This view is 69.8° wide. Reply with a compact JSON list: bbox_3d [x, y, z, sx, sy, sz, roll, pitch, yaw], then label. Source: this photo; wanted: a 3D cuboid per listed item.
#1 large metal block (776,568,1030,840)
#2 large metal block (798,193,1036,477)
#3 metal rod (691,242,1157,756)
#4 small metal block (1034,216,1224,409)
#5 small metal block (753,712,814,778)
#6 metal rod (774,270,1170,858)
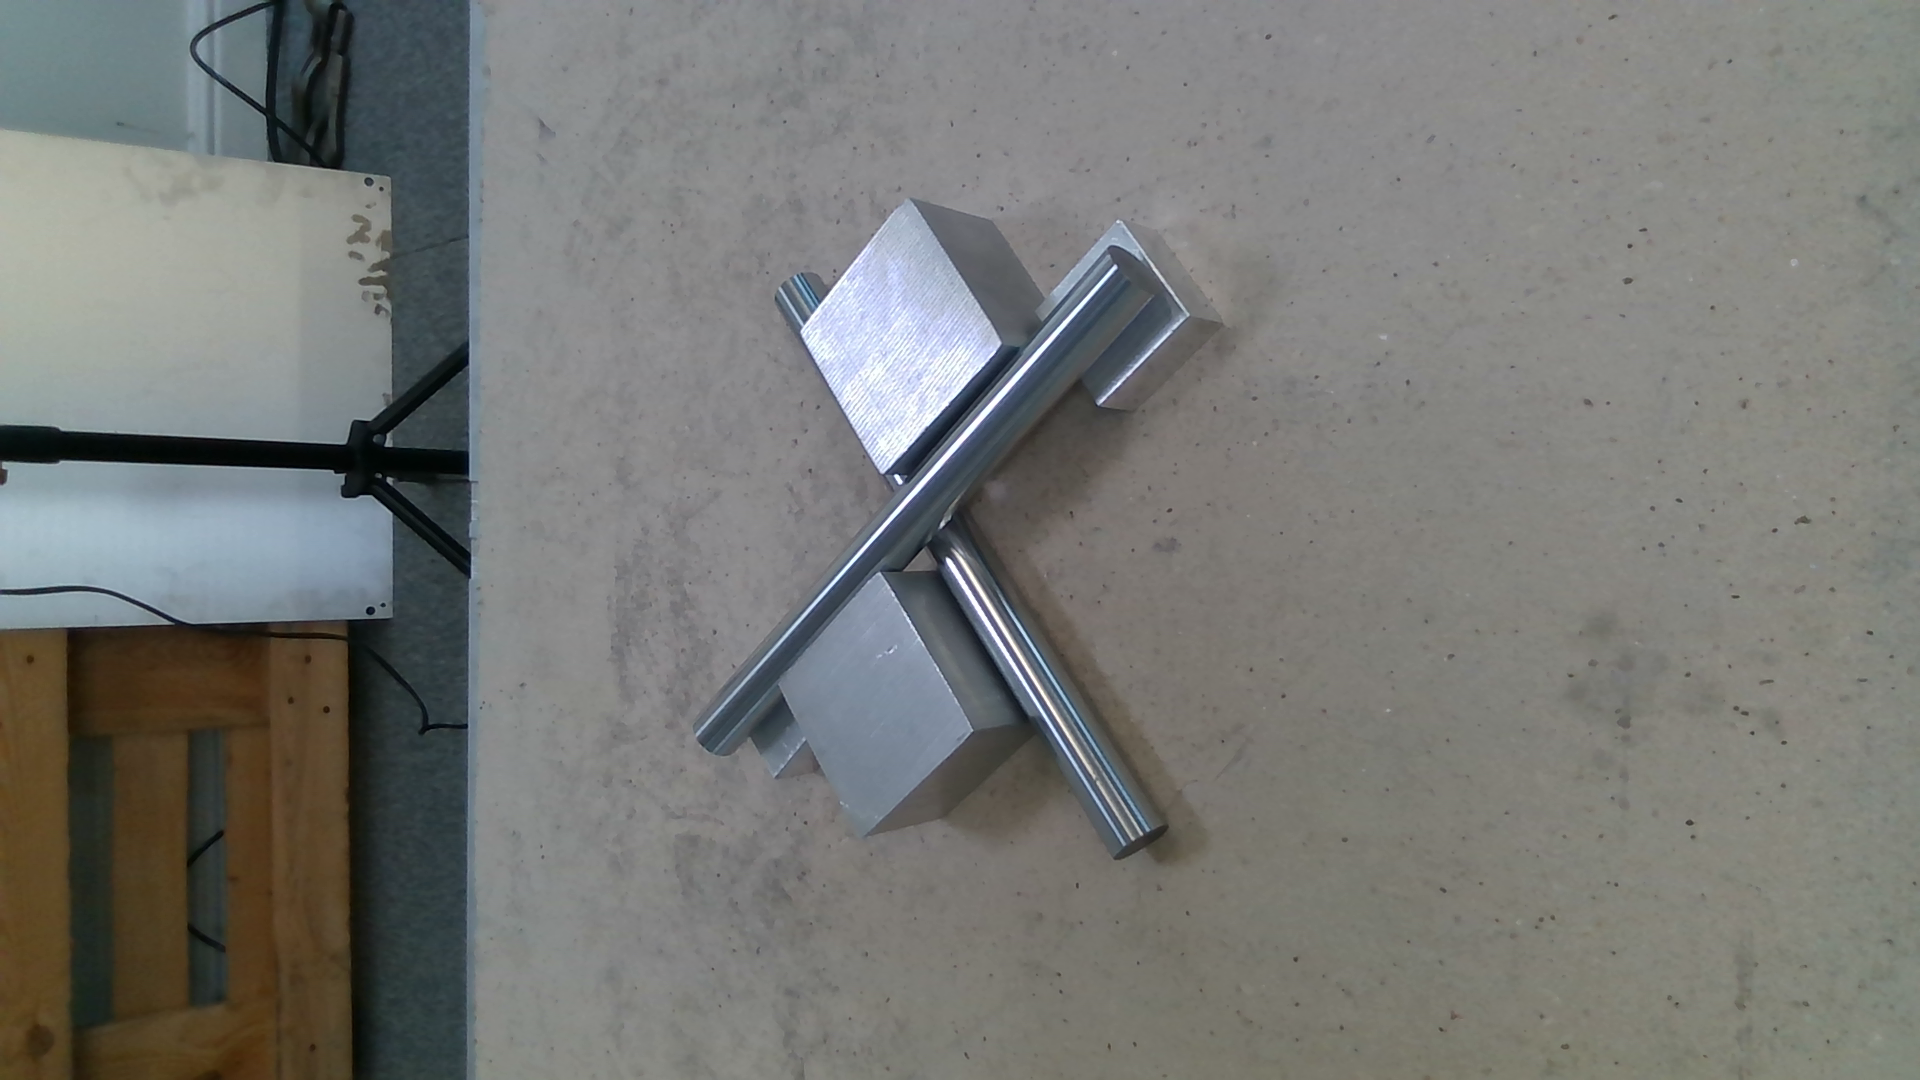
[{"bbox_3d":[-0.021,0.068,0.585,0.080,0.050,0.080,-47,62,30],"label":"large metal block"},{"bbox_3d":[-0.010,-0.082,0.572,0.080,0.050,0.080,-45,63,31],"label":"large metal block"},{"bbox_3d":[-0.027,-0.004,0.572,0.301,0.025,0.025,-47,62,30],"label":"metal rod"},{"bbox_3d":[0.064,-0.086,0.529,0.050,0.025,0.050,-45,63,31],"label":"small metal block"},{"bbox_3d":[-0.078,0.076,0.650,0.050,0.025,0.050,-51,60,28],"label":"small metal block"},{"bbox_3d":[-0.003,-0.001,0.586,0.025,0.025,0.299,-47,62,30],"label":"metal rod"}]
